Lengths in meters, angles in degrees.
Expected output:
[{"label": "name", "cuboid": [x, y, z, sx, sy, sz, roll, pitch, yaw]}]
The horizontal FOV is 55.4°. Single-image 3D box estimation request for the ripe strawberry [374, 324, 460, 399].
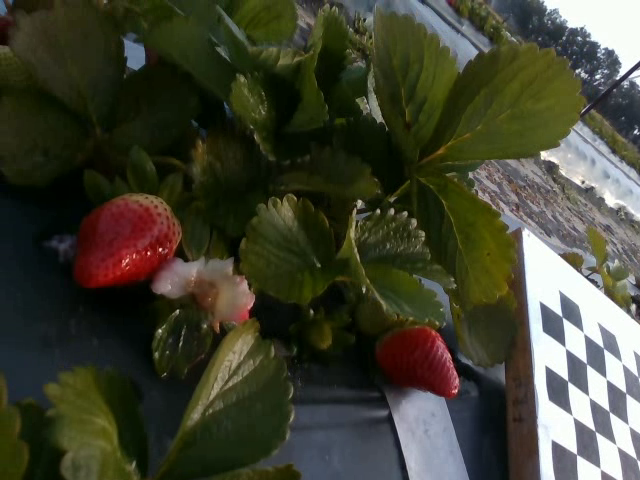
[{"label": "ripe strawberry", "cuboid": [0.055, 0.061, 0.294, 0.035, 0.055, 0.050, -40, -55, 22]}]
